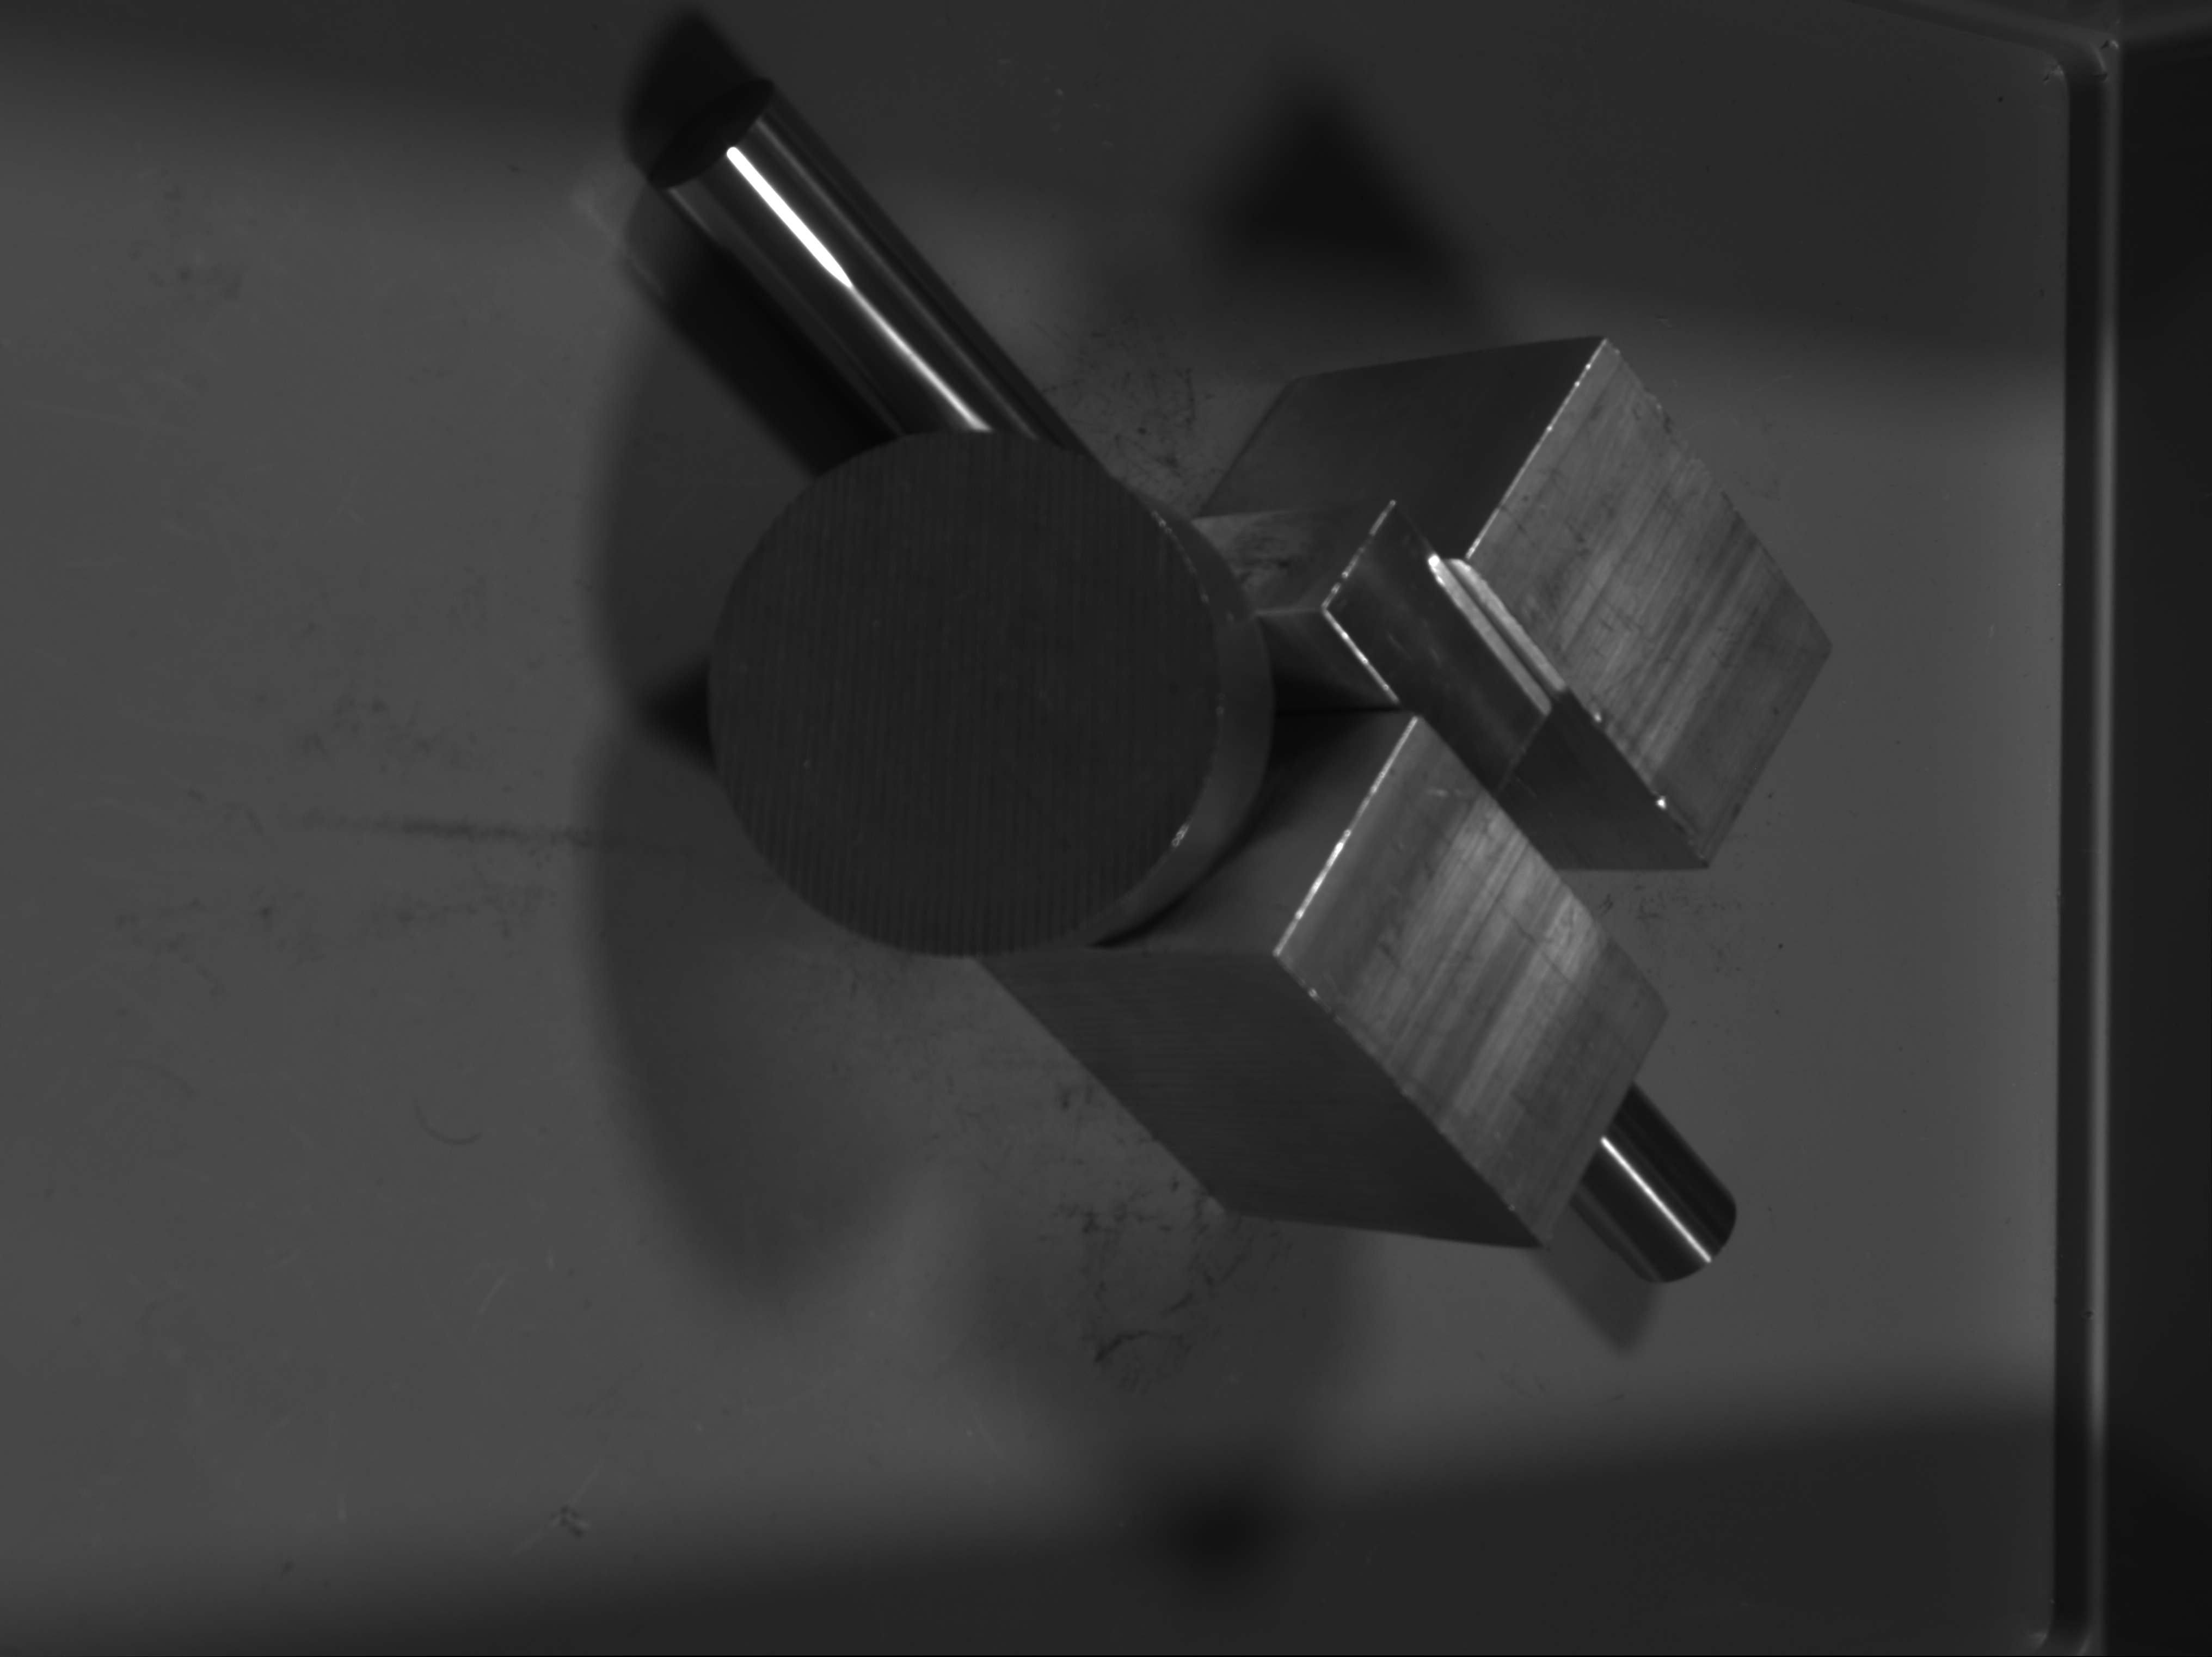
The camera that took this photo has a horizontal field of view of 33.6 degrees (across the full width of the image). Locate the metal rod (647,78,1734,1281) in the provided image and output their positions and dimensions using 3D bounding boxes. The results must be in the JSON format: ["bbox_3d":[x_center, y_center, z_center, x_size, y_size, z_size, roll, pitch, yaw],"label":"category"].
[{"bbox_3d":[0.026,-0.015,0.658,0.301,0.025,0.025,47,62,-30],"label":"metal rod"}]

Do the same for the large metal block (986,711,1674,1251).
[{"bbox_3d":[0.036,0.026,0.631,0.080,0.080,0.050,47,62,-30],"label":"large metal block"}]

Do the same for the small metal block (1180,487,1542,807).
[{"bbox_3d":[0.037,-0.030,0.621,0.050,0.050,0.025,48,61,-29],"label":"small metal block"}]

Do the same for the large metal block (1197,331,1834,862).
[{"bbox_3d":[0.070,-0.039,0.660,0.080,0.080,0.050,48,62,-29],"label":"large metal block"}]

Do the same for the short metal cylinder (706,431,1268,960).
[{"bbox_3d":[-0.017,-0.020,0.578,0.050,0.080,0.080,4,87,-79],"label":"short metal cylinder"}]
